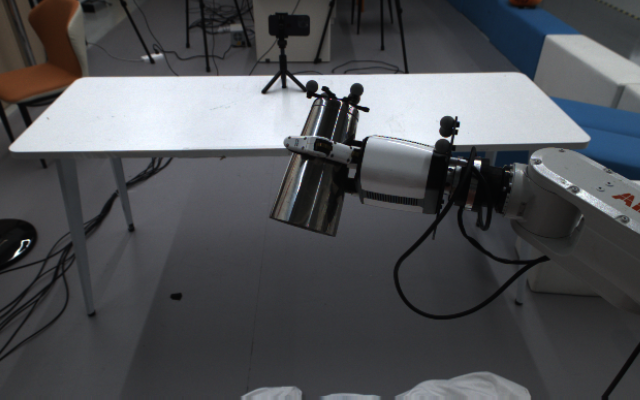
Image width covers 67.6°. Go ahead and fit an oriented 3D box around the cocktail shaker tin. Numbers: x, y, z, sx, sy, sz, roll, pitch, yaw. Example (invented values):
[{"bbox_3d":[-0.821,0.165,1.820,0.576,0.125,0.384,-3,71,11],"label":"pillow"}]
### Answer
[{"bbox_3d":[-0.001,-0.045,0.649,0.093,0.170,0.093,15,-6,2],"label":"cocktail shaker tin"}]
